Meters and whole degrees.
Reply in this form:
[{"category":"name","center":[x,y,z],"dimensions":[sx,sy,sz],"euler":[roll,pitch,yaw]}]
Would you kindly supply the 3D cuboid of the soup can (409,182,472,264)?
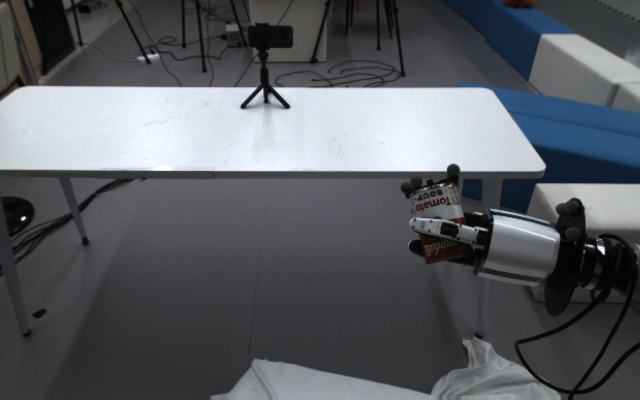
[{"category":"soup can","center":[0.173,0.032,0.679],"dimensions":[0.067,0.067,0.101],"euler":[-11,80,-18]}]
